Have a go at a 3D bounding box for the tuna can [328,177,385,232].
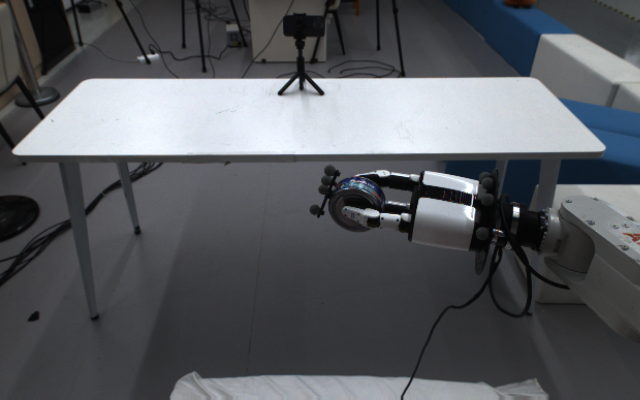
[{"bbox_3d":[0.059,0.007,0.752,0.085,0.085,0.034,9,35,10],"label":"tuna can"}]
